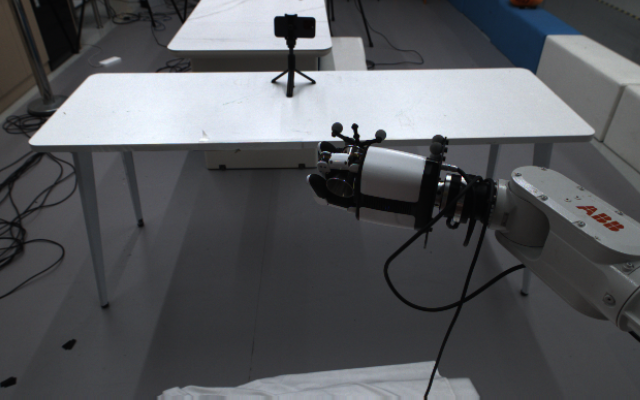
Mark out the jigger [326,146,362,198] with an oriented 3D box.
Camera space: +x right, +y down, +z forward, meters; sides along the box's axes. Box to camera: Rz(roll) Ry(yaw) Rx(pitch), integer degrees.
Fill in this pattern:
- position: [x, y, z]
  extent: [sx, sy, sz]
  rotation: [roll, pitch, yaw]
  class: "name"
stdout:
- position: [0.043, -0.044, 0.715]
  extent: [0.043, 0.043, 0.071]
  rotation: [13, 58, 16]
  class: "jigger"
